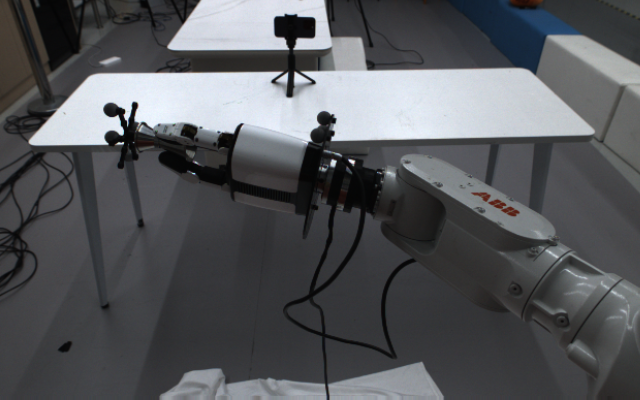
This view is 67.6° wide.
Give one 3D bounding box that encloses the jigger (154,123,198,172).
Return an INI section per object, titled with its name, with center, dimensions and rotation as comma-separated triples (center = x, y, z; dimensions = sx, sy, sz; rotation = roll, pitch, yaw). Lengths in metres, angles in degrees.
[jigger]
center = -0.193, -0.080, 0.624
dimensions = 0.071, 0.043, 0.043
rotation = 8, 35, 2
